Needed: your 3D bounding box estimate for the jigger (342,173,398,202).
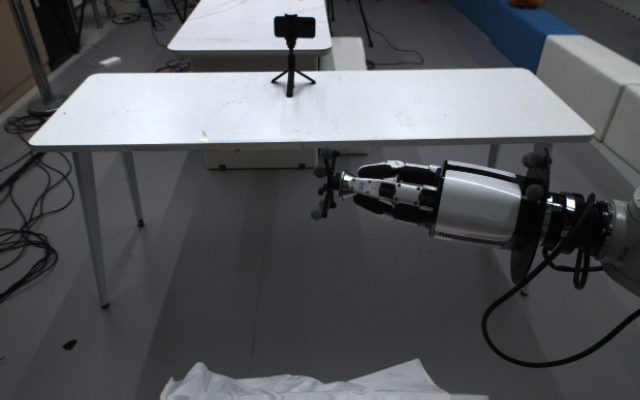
[{"bbox_3d":[0.068,-0.018,0.601,0.071,0.043,0.043,7,35,15],"label":"jigger"}]
